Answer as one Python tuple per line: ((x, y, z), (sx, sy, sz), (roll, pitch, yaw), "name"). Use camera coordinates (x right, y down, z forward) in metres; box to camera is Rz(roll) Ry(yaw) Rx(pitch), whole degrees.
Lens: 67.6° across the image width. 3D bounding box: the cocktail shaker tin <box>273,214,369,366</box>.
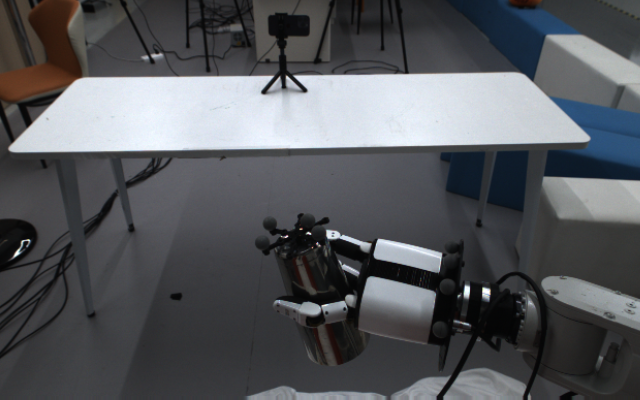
((-0.001, 0.120, 0.618), (0.093, 0.170, 0.093), (-15, 27, 8), "cocktail shaker tin")
